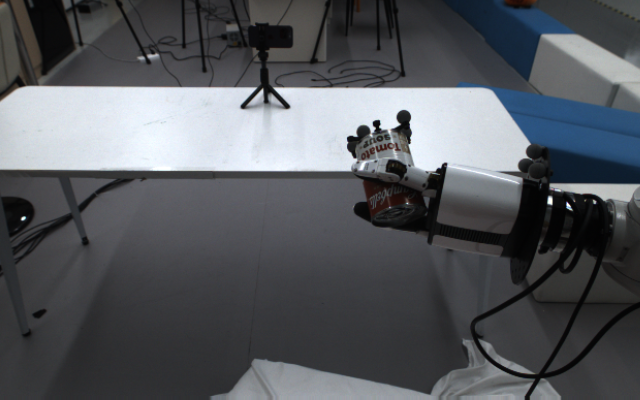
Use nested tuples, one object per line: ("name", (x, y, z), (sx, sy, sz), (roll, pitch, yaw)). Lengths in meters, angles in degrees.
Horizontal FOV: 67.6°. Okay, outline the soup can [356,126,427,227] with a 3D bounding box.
("soup can", (0.087, -0.026, 0.591), (0.067, 0.067, 0.101), (-6, 67, -12))
